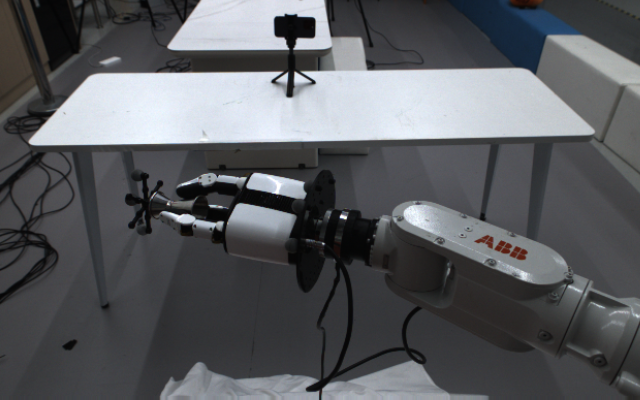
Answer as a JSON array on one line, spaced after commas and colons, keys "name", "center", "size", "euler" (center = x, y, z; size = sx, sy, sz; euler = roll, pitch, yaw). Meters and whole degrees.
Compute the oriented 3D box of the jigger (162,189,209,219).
[{"name": "jigger", "center": [-0.188, 0.009, 0.667], "size": [0.071, 0.043, 0.043], "euler": [7, 35, 15]}]
